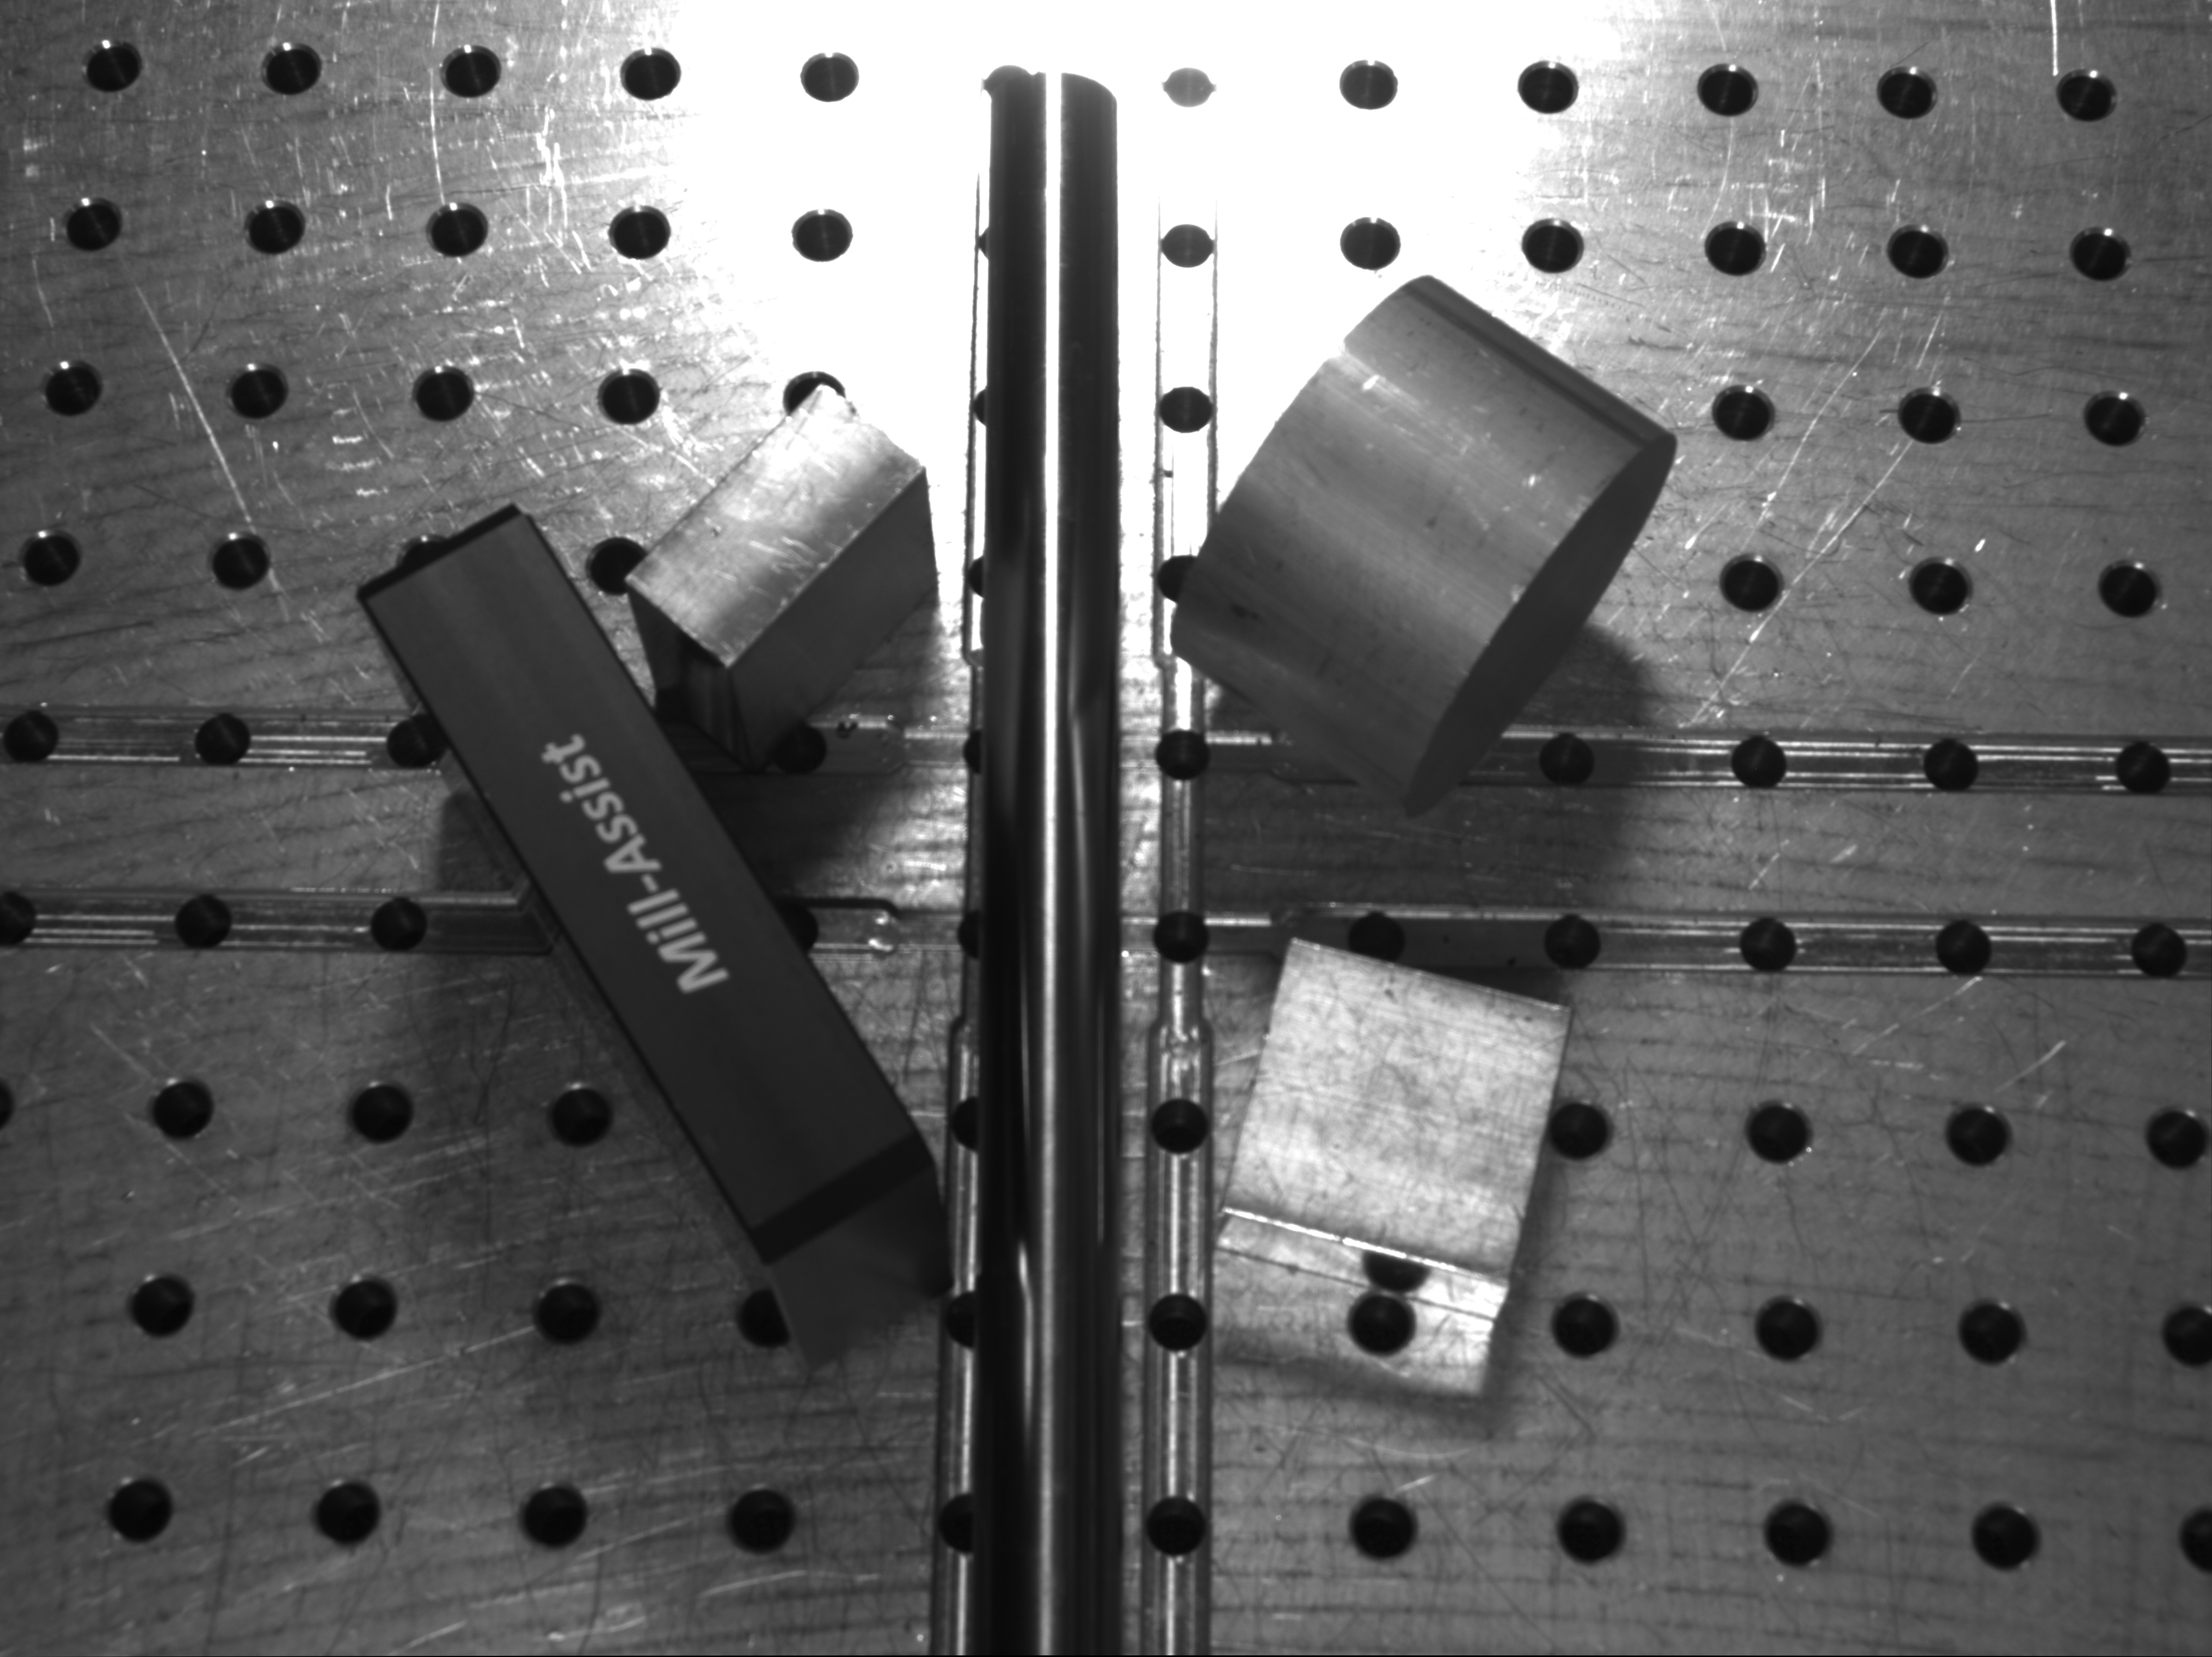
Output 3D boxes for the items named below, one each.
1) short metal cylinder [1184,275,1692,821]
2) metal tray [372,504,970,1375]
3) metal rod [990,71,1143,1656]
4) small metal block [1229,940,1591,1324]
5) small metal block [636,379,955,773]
[{"bbox_3d":[0.058,-0.048,0.636,0.050,0.080,0.080,36,74,12],"label":"short metal cylinder"},{"bbox_3d":[-0.070,0.020,0.604,0.030,0.090,0.130,-31,73,-10],"label":"metal tray"},{"bbox_3d":[-0.007,0.003,0.646,0.025,0.025,0.300,0,70,0],"label":"metal rod"},{"bbox_3d":[0.052,0.052,0.629,0.050,0.025,0.050,14,70,5],"label":"small metal block"},{"bbox_3d":[-0.054,-0.044,0.649,0.025,0.050,0.050,40,75,13],"label":"small metal block"}]
